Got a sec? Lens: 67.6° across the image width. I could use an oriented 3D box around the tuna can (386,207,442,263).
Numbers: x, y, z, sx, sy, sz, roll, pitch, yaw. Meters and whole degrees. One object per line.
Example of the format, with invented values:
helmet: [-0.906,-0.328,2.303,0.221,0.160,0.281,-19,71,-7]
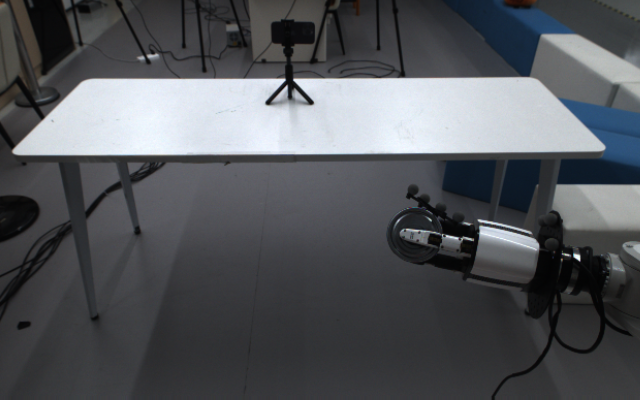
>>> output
tuna can: [0.150,0.060,0.740,0.085,0.085,0.034,12,-4,14]
